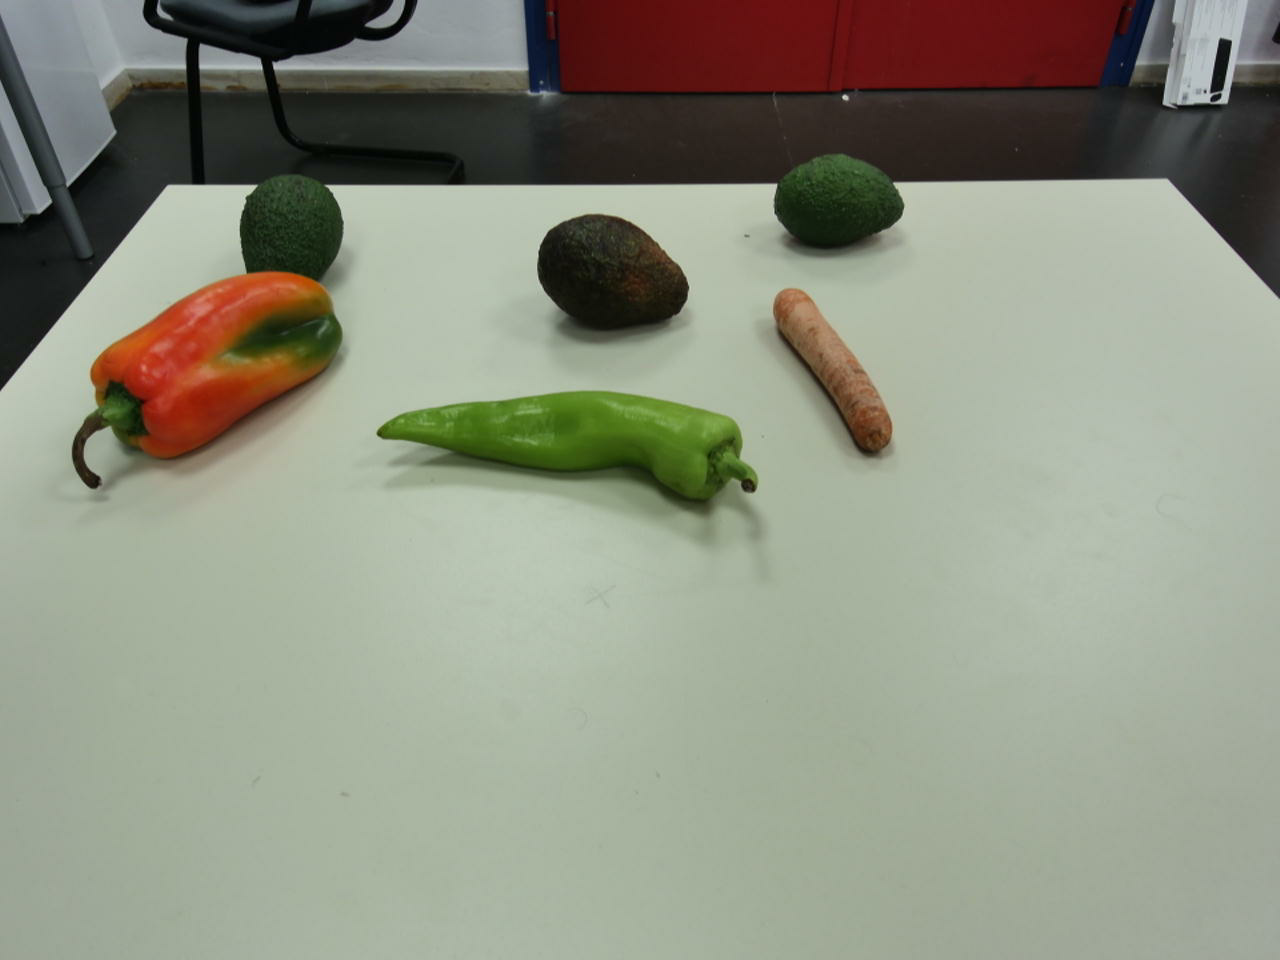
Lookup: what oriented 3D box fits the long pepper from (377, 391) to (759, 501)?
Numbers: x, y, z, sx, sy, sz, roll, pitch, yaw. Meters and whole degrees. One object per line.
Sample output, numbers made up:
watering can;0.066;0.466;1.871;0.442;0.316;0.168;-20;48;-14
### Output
long pepper;-0.033;-0.024;0.529;0.205;0.045;0.065;11;40;13
